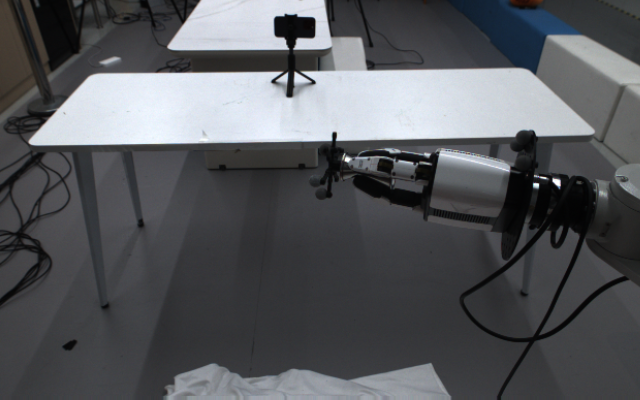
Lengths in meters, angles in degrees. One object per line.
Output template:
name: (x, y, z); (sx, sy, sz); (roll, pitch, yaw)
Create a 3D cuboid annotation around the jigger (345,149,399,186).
jigger: (0.070, -0.044, 0.632); (0.071, 0.043, 0.043); (7, 35, 16)
